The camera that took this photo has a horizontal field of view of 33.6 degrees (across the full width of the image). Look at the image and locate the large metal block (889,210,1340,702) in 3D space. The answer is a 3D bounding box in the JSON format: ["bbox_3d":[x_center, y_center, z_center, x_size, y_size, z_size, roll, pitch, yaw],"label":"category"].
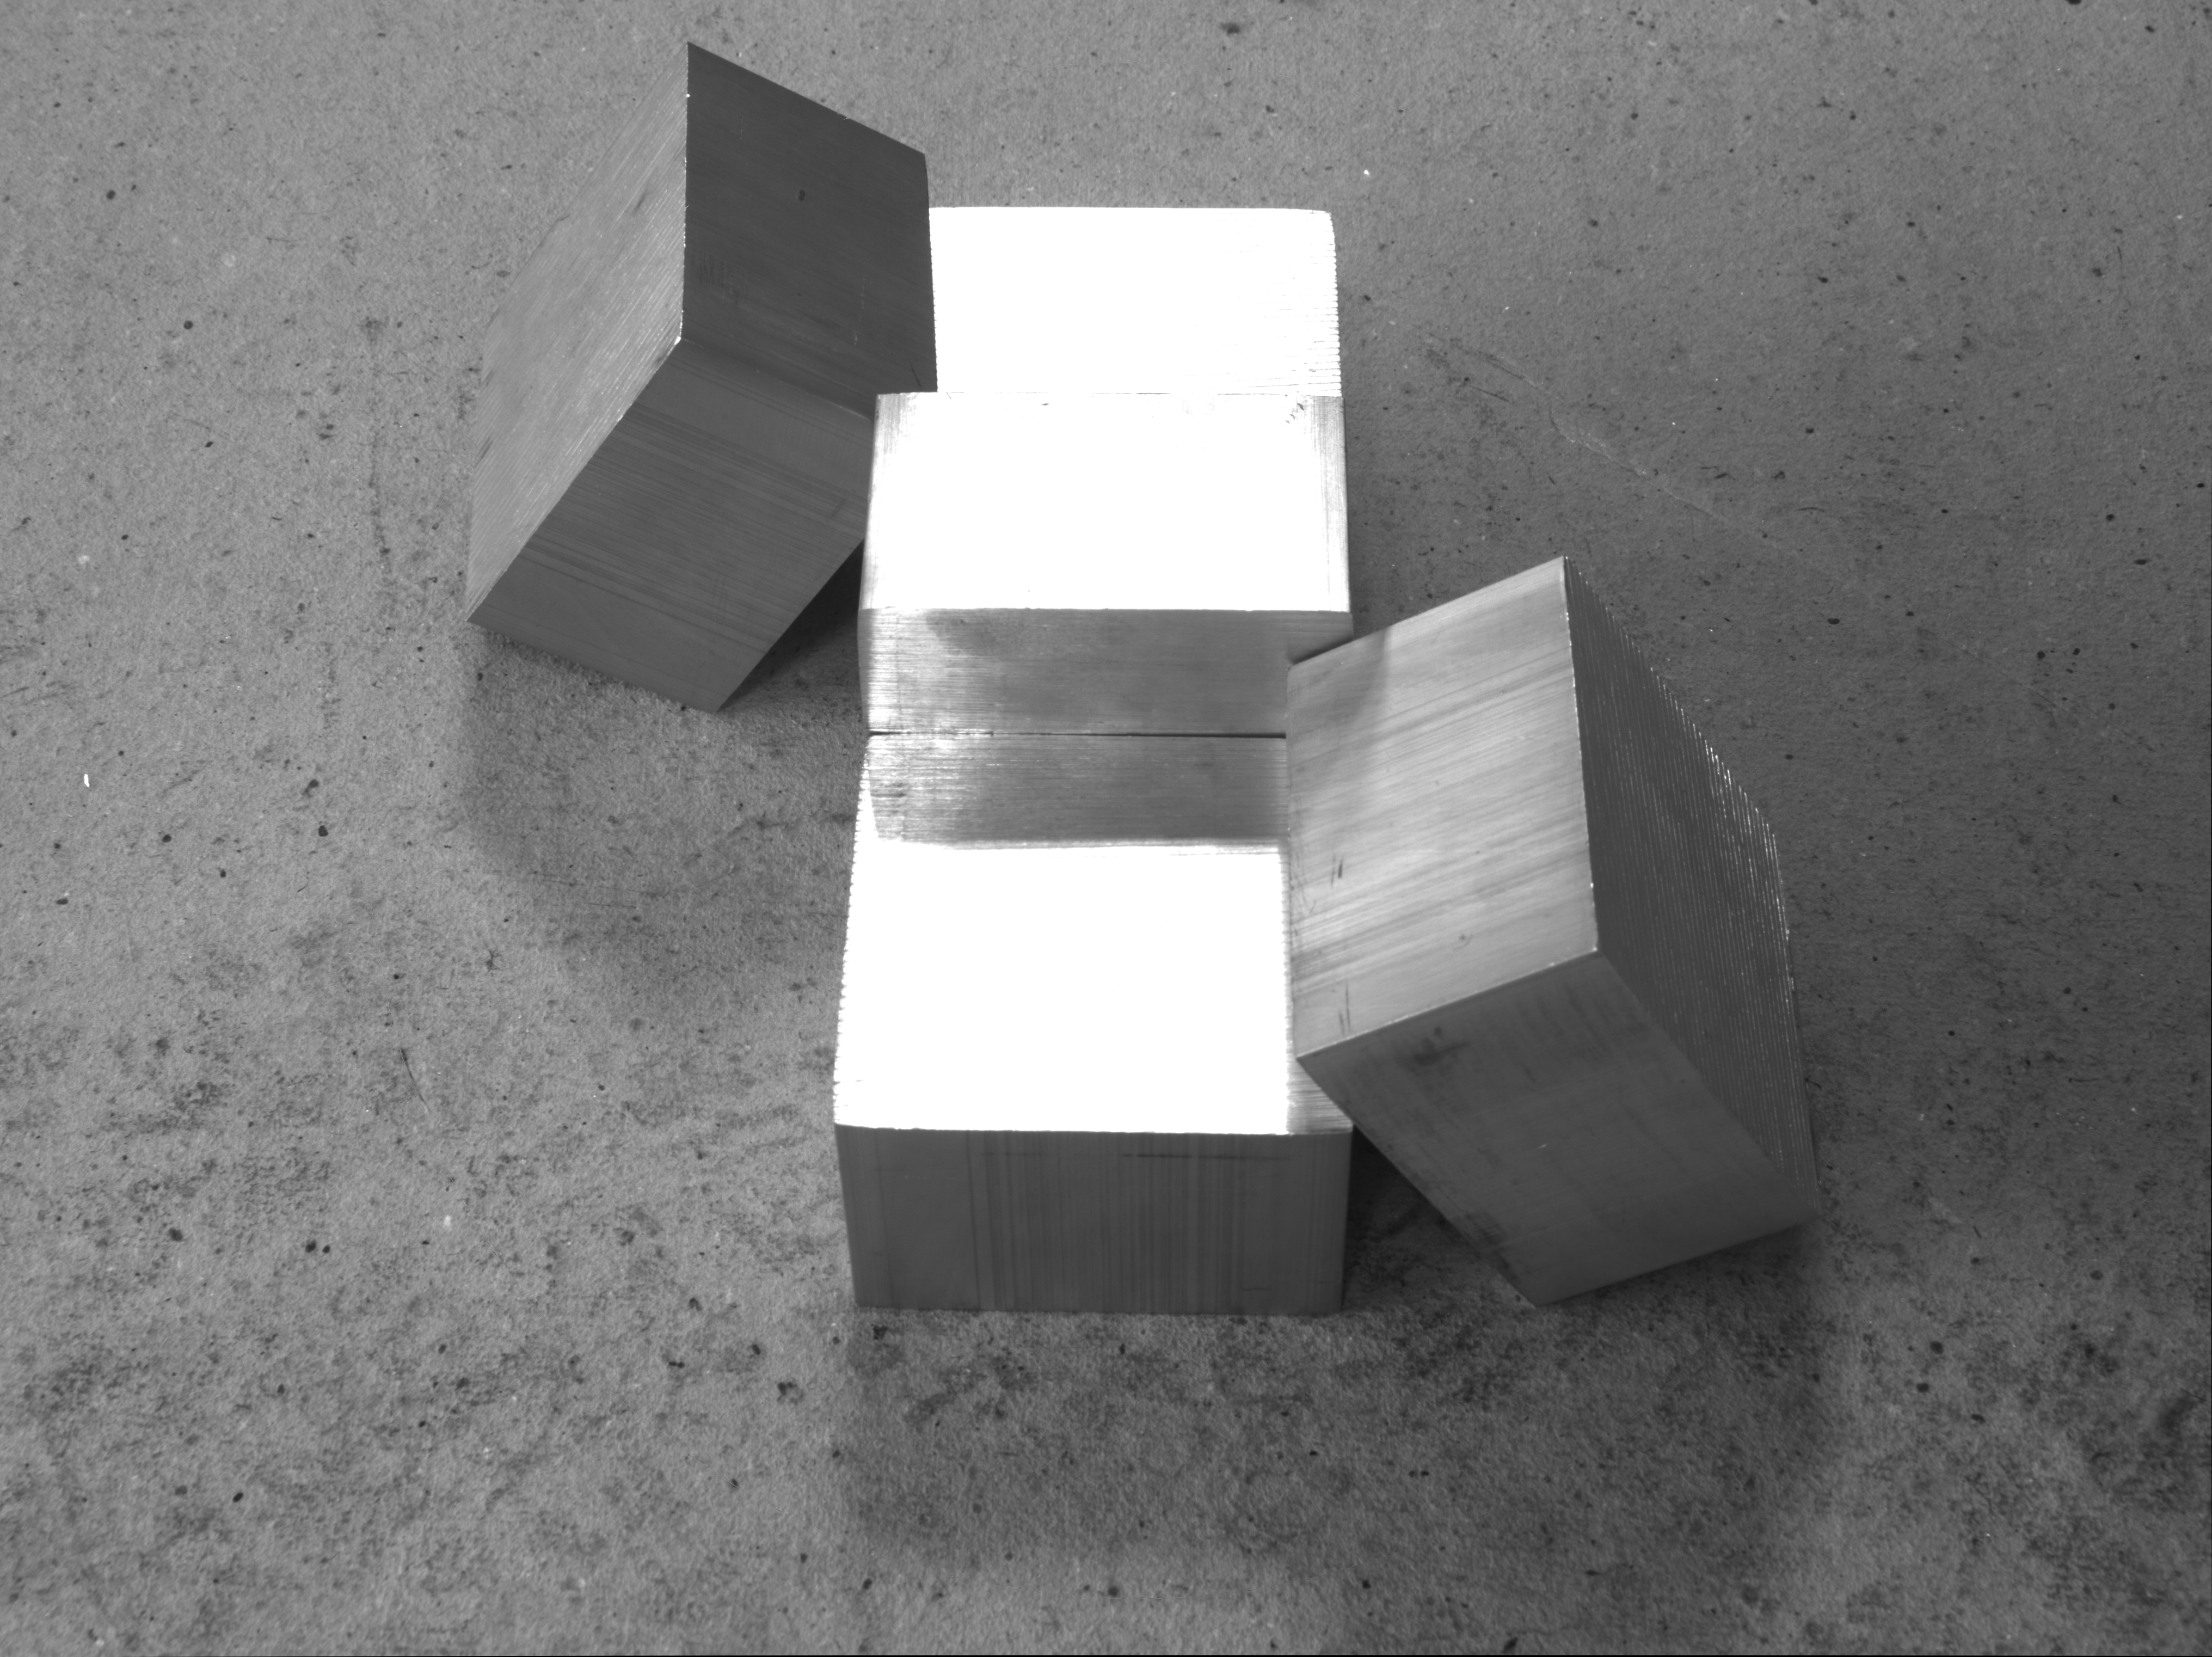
[{"bbox_3d":[0.002,-0.070,0.682,0.080,0.050,0.080,0,49,1],"label":"large metal block"}]

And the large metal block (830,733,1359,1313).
[{"bbox_3d":[-0.001,0.031,0.599,0.080,0.050,0.080,0,51,1],"label":"large metal block"}]

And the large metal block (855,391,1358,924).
[{"bbox_3d":[0.001,-0.028,0.630,0.080,0.080,0.050,0,50,1],"label":"large metal block"}]

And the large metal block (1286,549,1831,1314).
[{"bbox_3d":[0.071,0.017,0.582,0.050,0.080,0.080,-22,45,24],"label":"large metal block"}]

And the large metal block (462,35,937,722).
[{"bbox_3d":[-0.074,-0.081,0.665,0.050,0.080,0.080,21,43,-27],"label":"large metal block"}]
